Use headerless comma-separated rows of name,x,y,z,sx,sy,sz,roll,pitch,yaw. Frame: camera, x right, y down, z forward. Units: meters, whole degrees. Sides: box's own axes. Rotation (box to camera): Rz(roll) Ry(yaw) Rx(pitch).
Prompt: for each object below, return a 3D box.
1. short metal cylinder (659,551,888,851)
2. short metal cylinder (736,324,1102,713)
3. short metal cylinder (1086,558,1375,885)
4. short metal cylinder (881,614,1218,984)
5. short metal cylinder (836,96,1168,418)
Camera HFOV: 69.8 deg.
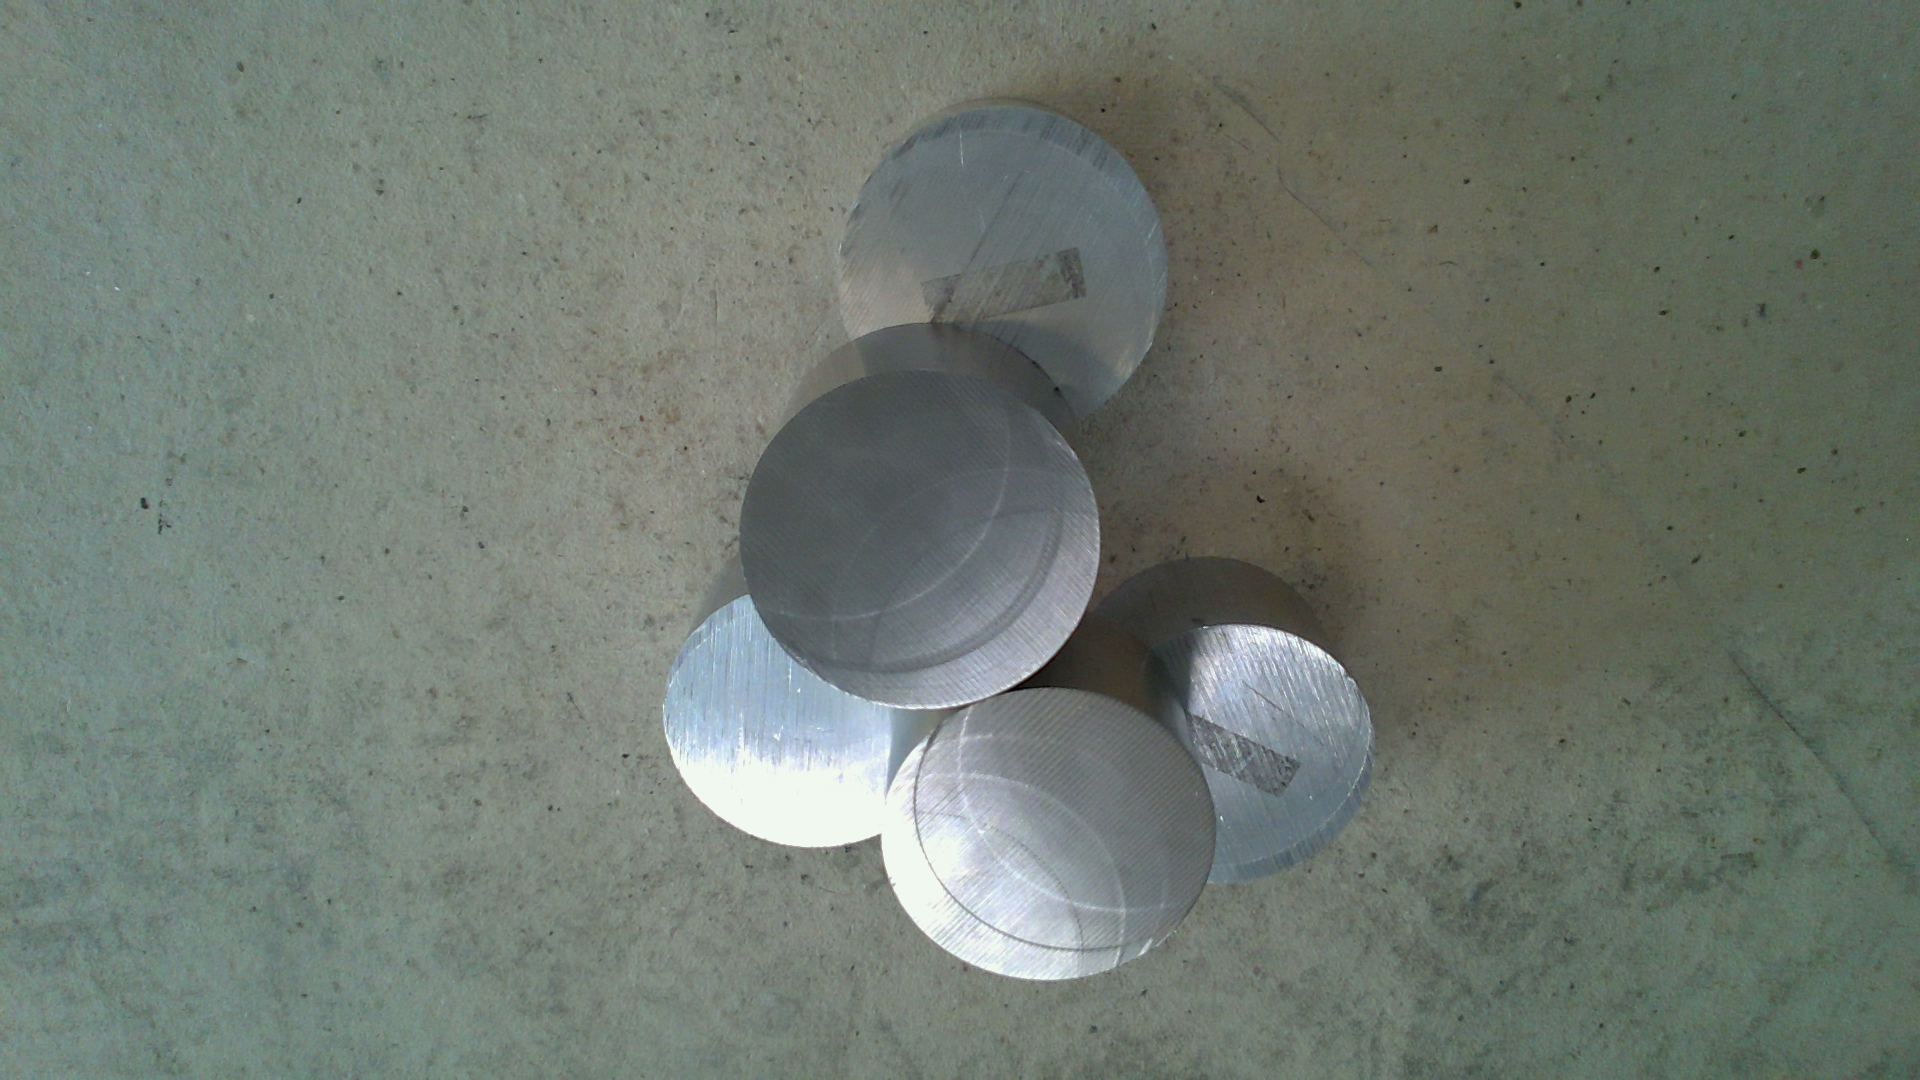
short metal cylinder,-0.041,0.041,0.395,0.080,0.050,0.080,0,110,0
short metal cylinder,-0.009,-0.007,0.324,0.080,0.050,0.080,0,110,0
short metal cylinder,0.074,0.052,0.400,0.080,0.050,0.080,0,110,0
short metal cylinder,0.021,0.064,0.350,0.080,0.050,0.080,0,110,-1
short metal cylinder,0.010,-0.071,0.355,0.080,0.050,0.080,0,110,0
